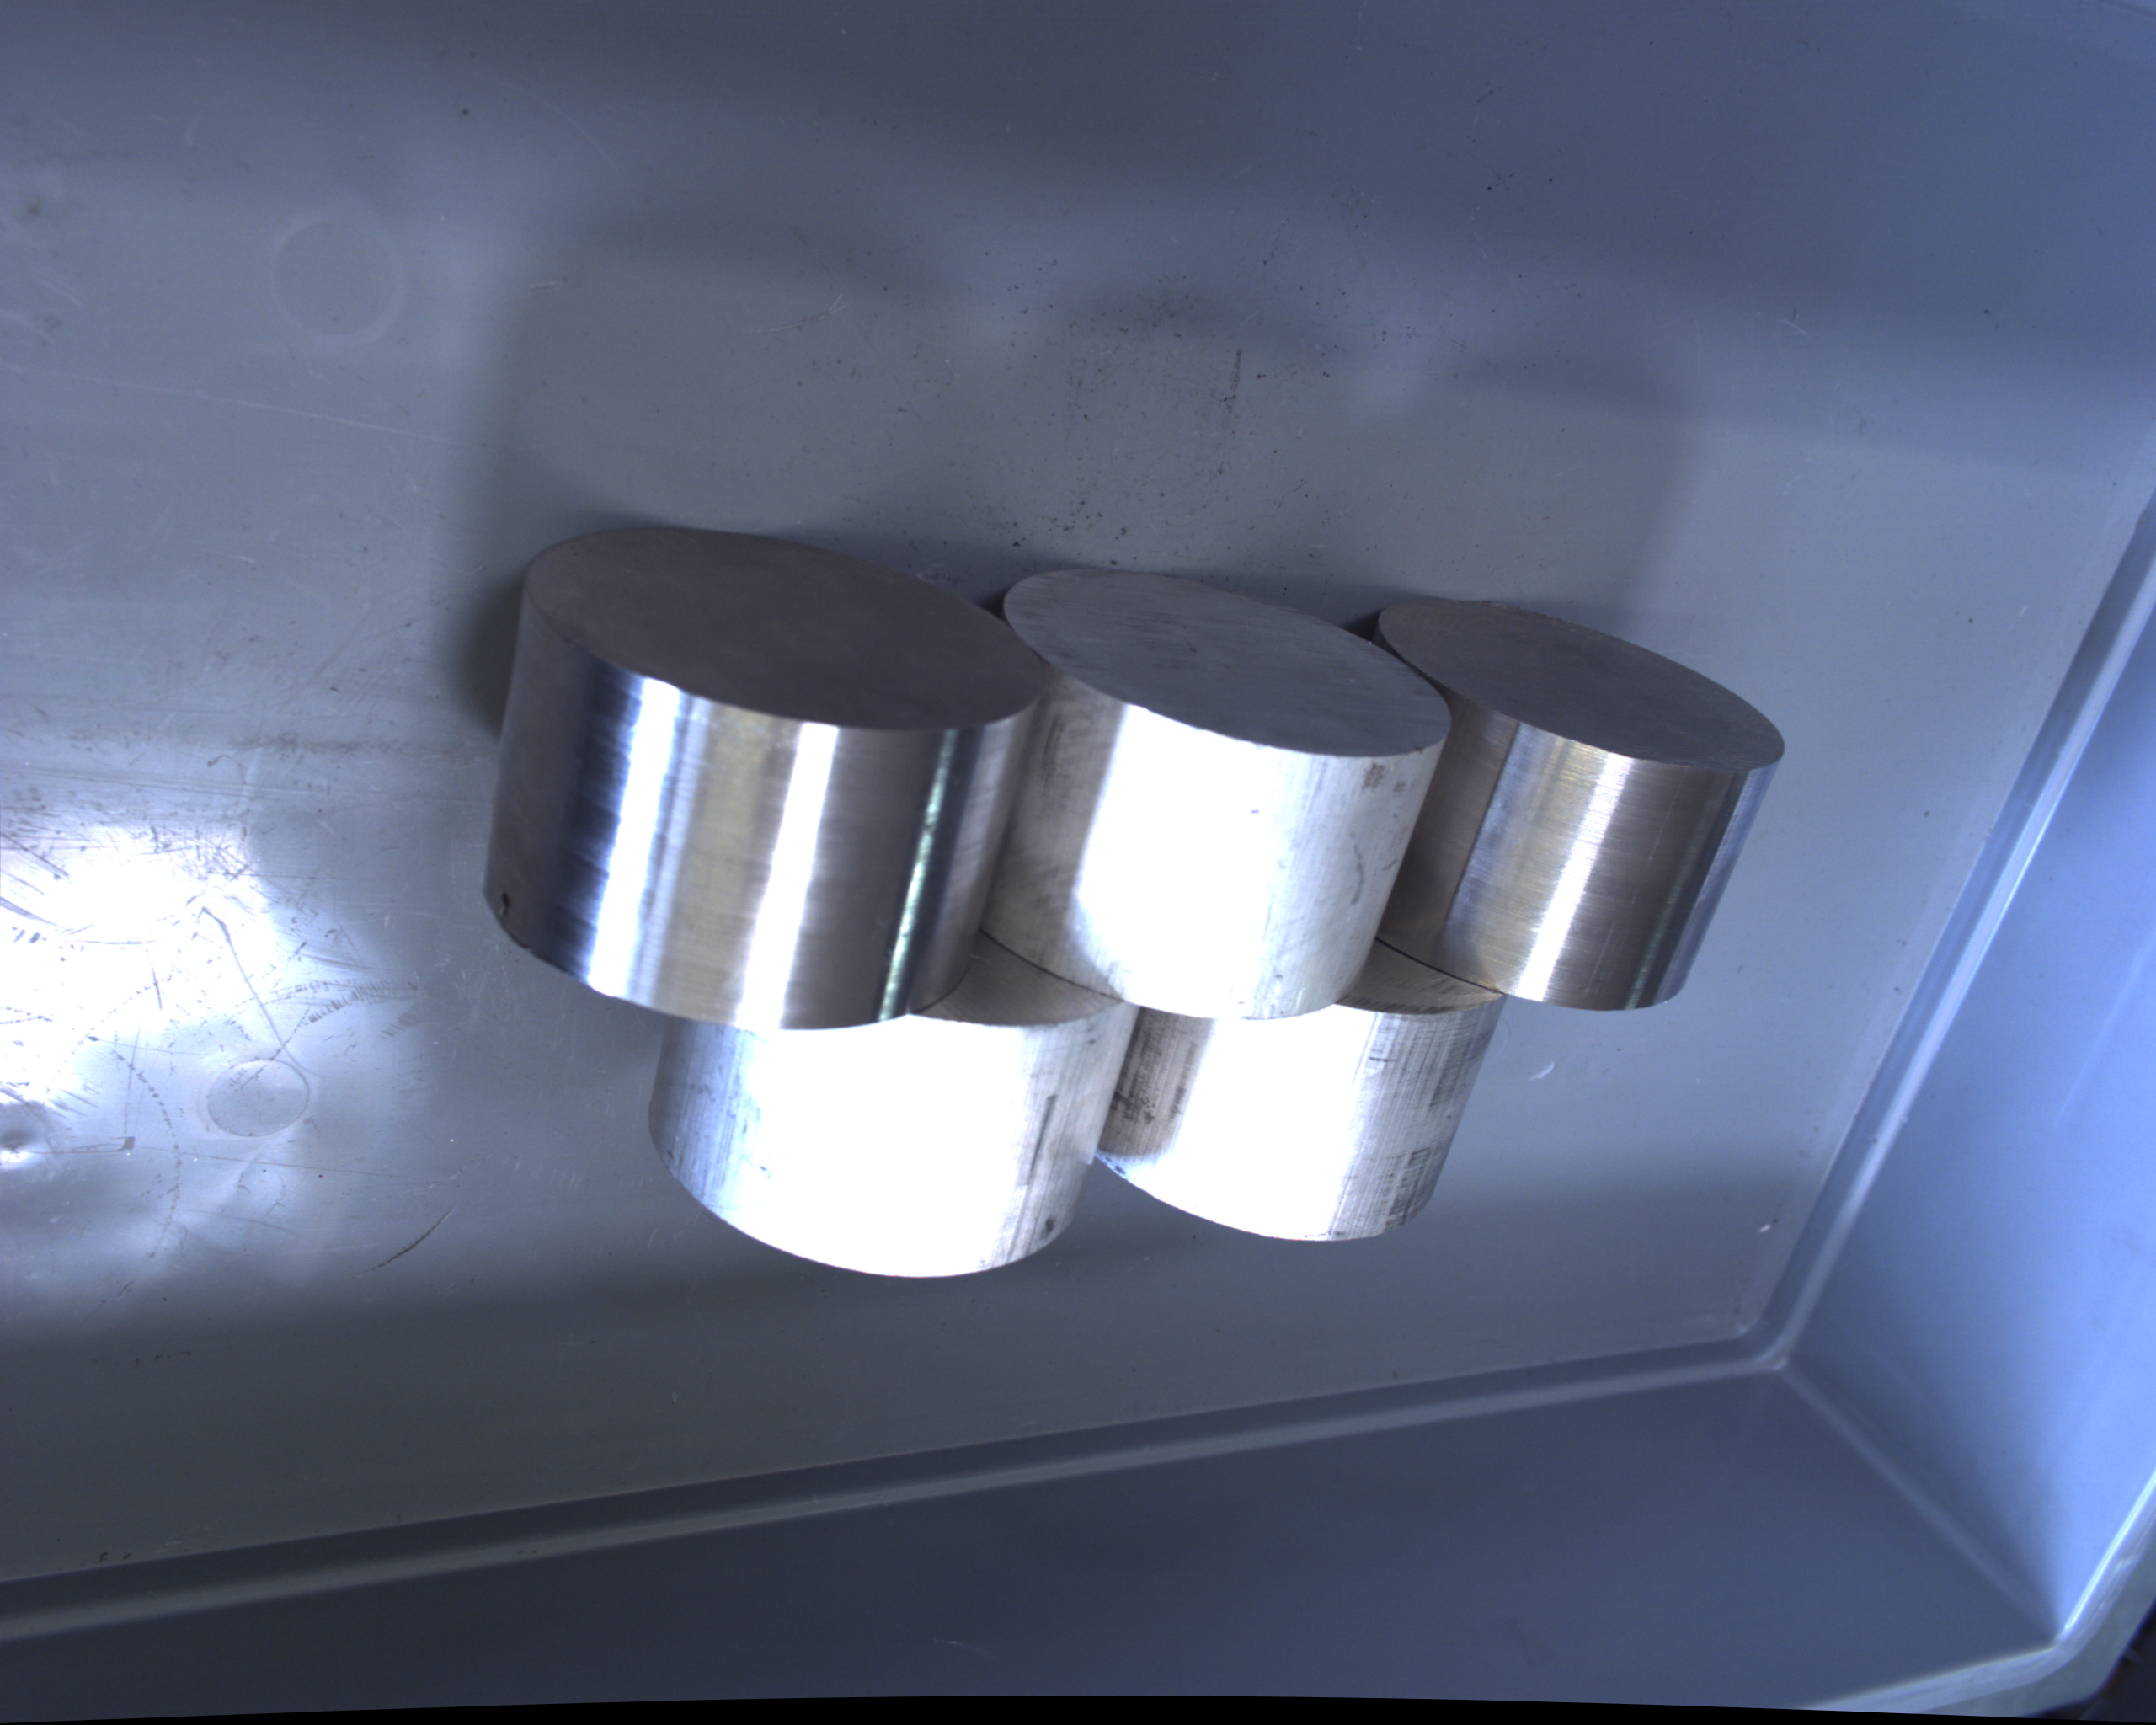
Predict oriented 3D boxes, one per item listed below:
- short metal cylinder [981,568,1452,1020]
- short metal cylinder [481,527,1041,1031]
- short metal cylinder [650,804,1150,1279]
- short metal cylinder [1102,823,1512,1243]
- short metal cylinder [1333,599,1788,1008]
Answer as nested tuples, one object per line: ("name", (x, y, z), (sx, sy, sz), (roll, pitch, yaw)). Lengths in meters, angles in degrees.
("short metal cylinder", (0.020, -0.014, 0.373), (0.081, 0.080, 0.050), (1, 118, -29))
("short metal cylinder", (-0.051, -0.016, 0.333), (0.081, 0.080, 0.050), (1, 118, -29))
("short metal cylinder", (-0.032, 0.029, 0.371), (0.081, 0.080, 0.050), (1, 118, -29))
("short metal cylinder", (0.040, 0.030, 0.411), (0.081, 0.080, 0.050), (1, 118, -29))
("short metal cylinder", (0.091, -0.013, 0.412), (0.081, 0.080, 0.050), (2, 118, -29))
